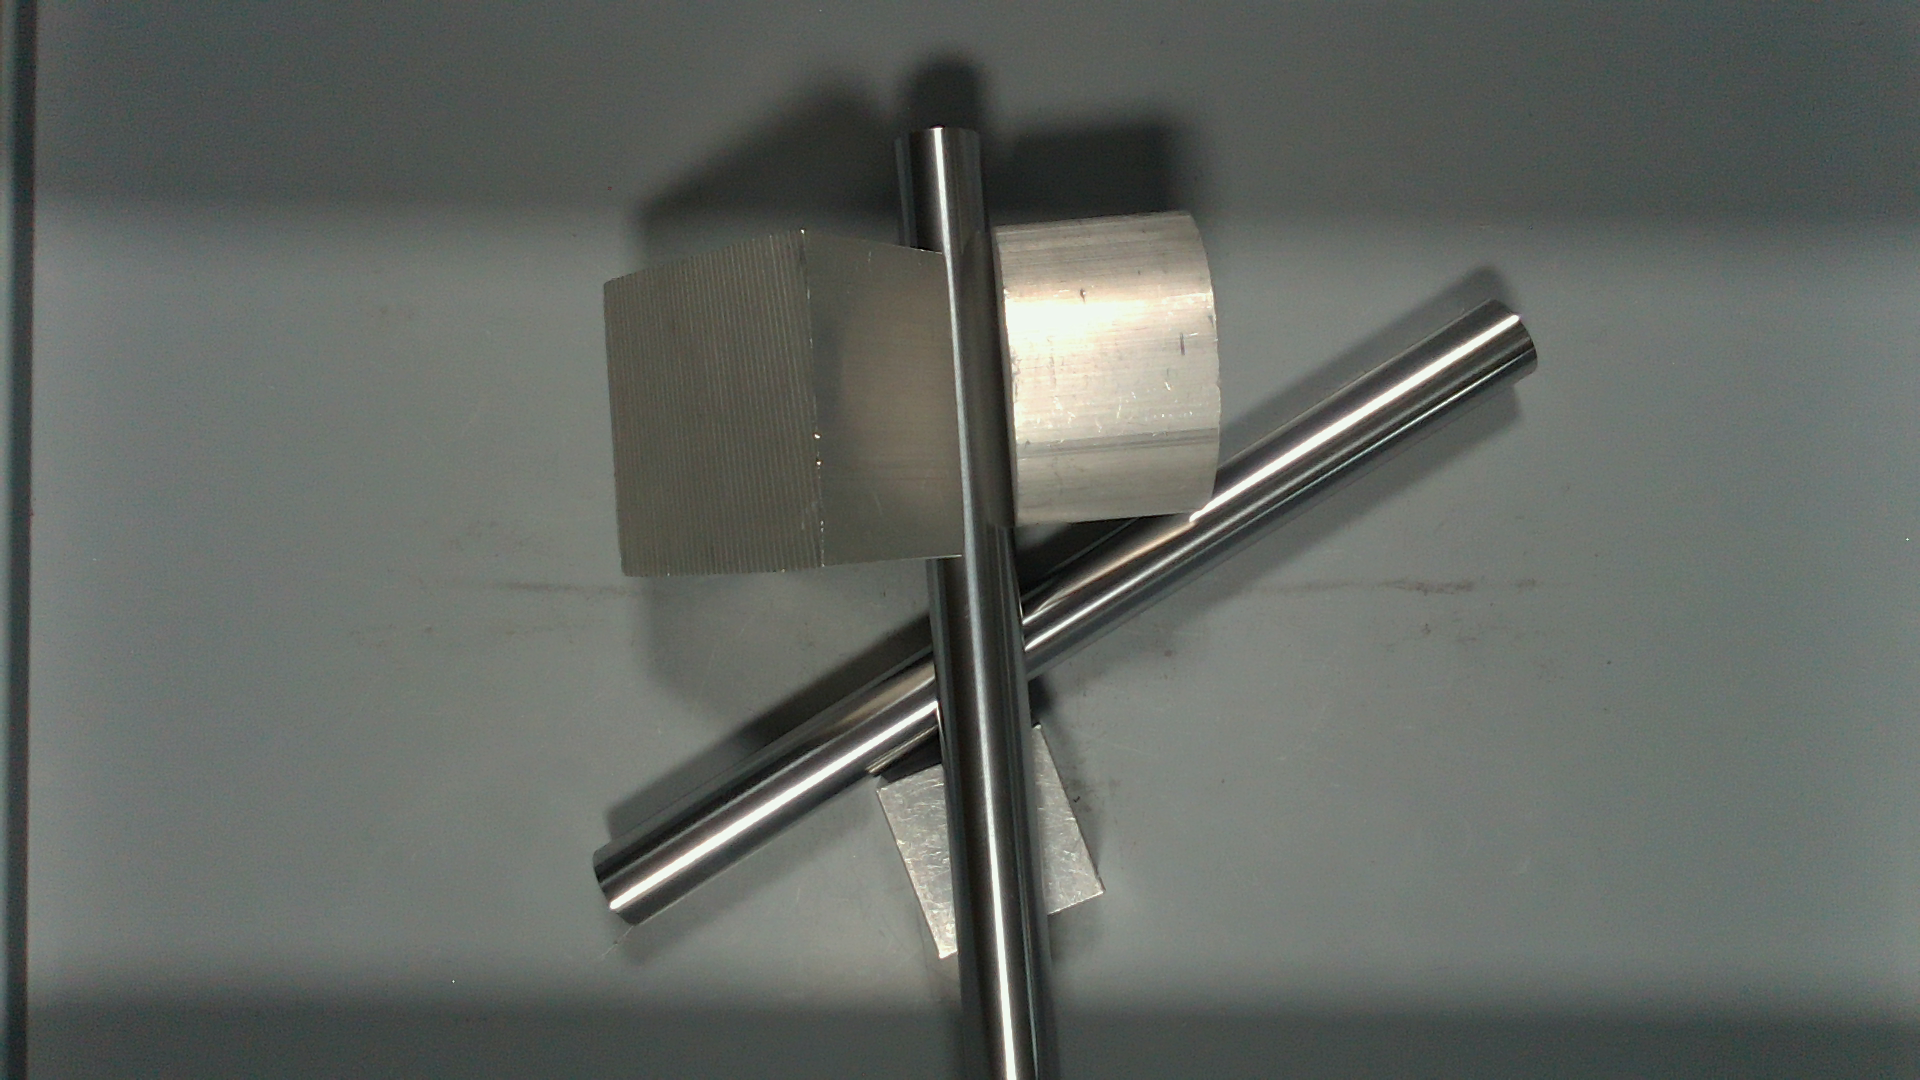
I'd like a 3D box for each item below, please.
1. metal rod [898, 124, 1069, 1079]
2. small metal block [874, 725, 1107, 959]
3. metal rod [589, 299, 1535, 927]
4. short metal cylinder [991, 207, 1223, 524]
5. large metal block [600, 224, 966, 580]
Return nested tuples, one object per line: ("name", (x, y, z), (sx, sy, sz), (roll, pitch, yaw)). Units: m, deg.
("metal rod", (0.008, 0.041, 0.368), (0.025, 0.025, 0.300), (-5, 89, 0))
("small metal block", (0.008, 0.084, 0.395), (0.050, 0.025, 0.050), (-21, 90, 0))
("metal rod", (0.029, 0.021, 0.394), (0.300, 0.025, 0.025), (-32, 90, 0))
("short metal cylinder", (0.036, -0.046, 0.366), (0.050, 0.080, 0.080), (-4, 90, -1))
("large metal block", (-0.048, -0.032, 0.362), (0.080, 0.050, 0.080), (-4, 90, 41))
